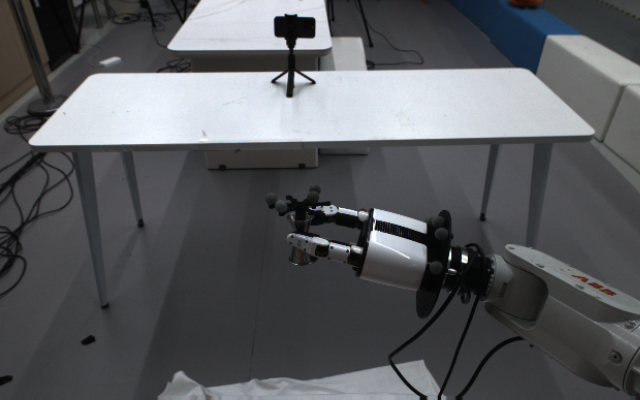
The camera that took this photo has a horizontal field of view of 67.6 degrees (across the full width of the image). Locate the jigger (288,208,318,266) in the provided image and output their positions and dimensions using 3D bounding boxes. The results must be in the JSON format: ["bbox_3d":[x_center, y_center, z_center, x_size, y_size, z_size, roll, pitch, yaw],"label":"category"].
[{"bbox_3d":[-0.026,0.055,0.701,0.043,0.071,0.043,-2,19,1],"label":"jigger"}]
